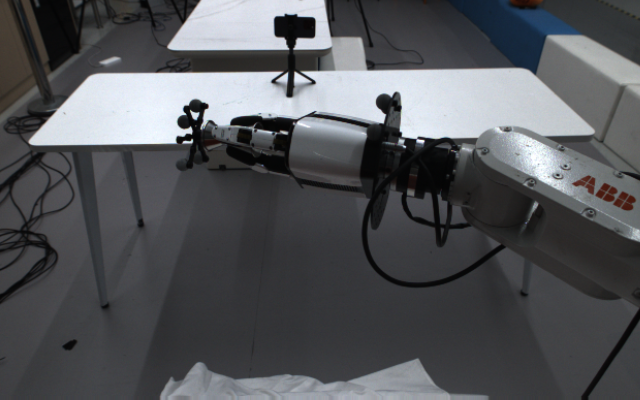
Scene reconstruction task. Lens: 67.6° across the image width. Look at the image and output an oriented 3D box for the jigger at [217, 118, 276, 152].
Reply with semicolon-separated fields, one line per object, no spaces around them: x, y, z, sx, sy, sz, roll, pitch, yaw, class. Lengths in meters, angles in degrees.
-0.103;-0.080;0.606;0.071;0.043;0.043;6;35;14;jigger
